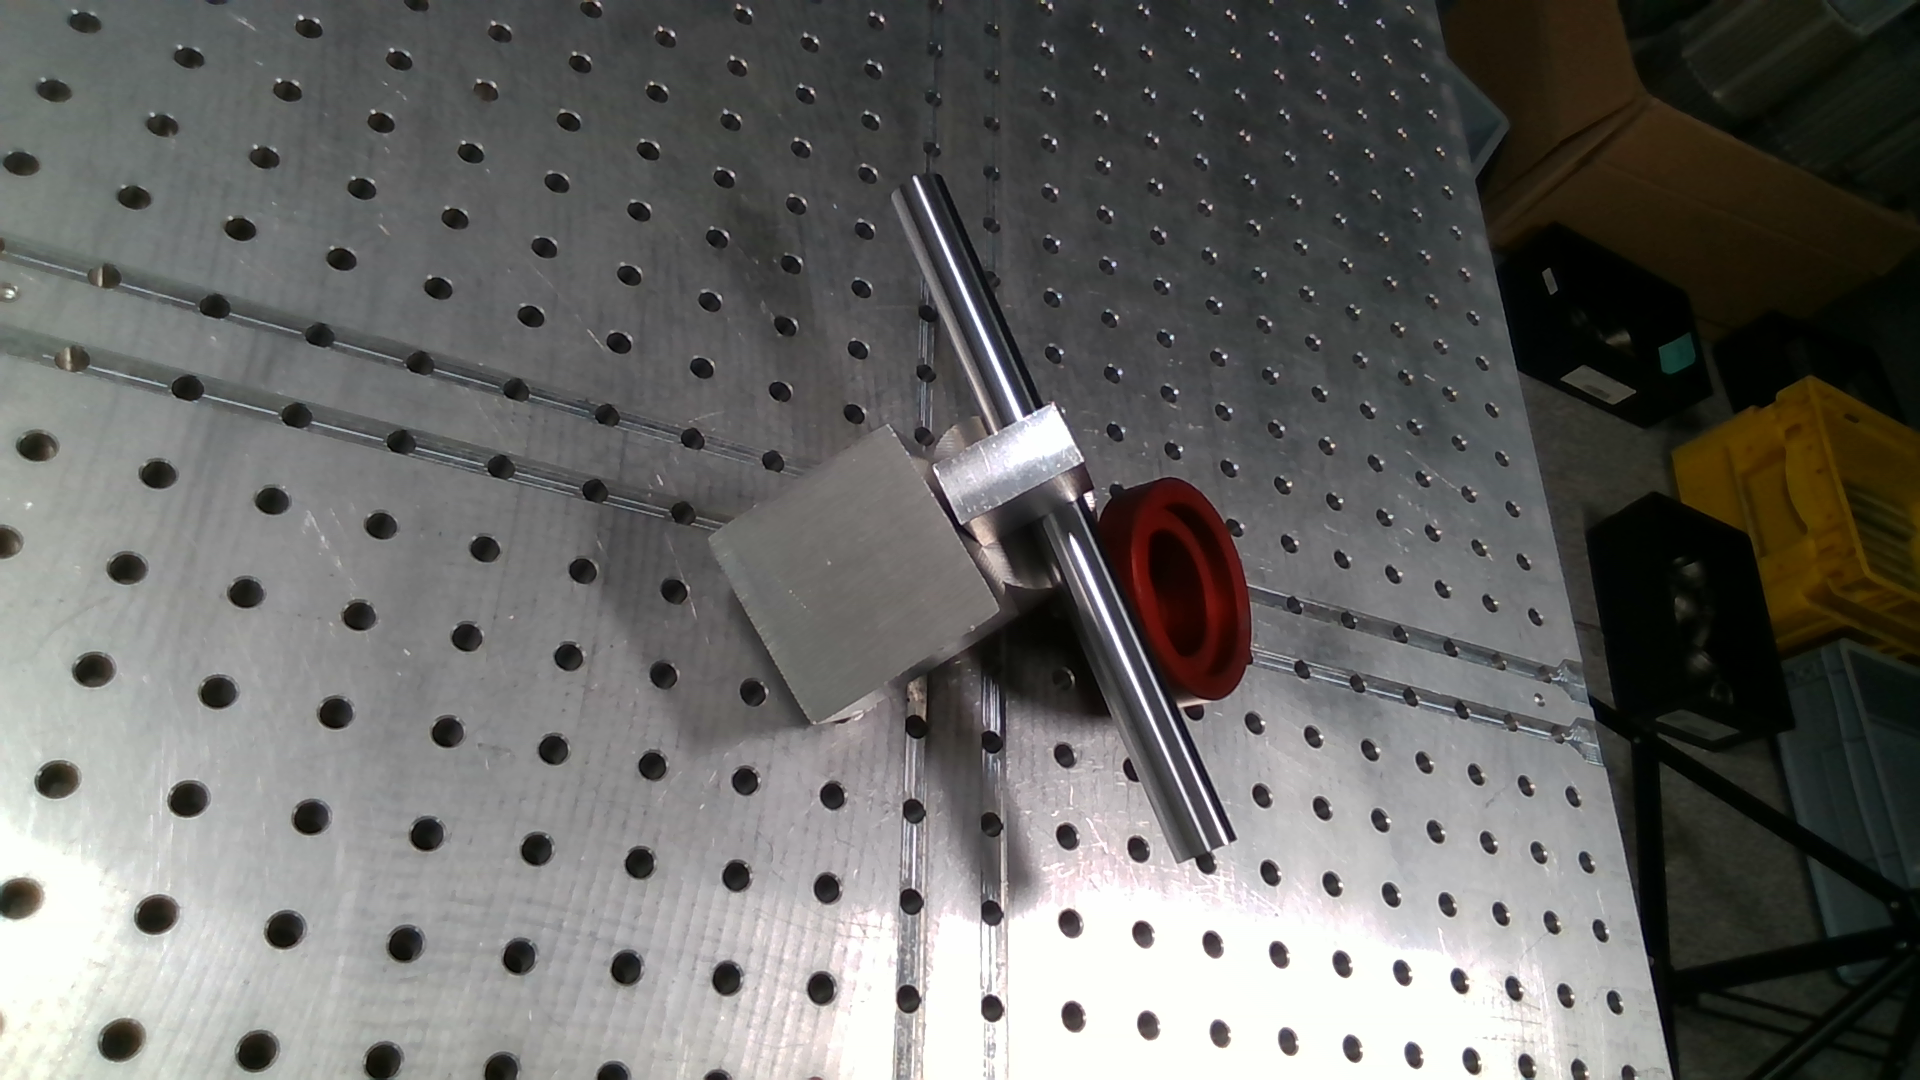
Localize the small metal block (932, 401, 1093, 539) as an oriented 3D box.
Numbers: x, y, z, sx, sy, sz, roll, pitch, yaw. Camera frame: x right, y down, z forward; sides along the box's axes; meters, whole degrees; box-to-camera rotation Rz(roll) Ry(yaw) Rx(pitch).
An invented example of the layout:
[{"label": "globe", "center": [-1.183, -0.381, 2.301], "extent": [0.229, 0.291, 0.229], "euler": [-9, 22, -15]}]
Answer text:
[{"label": "small metal block", "center": [0.022, -0.024, 0.520], "extent": [0.050, 0.050, 0.025], "euler": [-27, 78, 4]}]

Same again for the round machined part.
[{"label": "round machined part", "center": [0.085, 0.024, 0.602], "extent": [0.098, 0.042, 0.098], "euler": [22, 60, -47]}]

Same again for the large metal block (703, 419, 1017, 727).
[{"label": "large metal block", "center": [-0.035, 0.013, 0.514], "extent": [0.080, 0.050, 0.080], "euler": [-32, 82, 6]}]

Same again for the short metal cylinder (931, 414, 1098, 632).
[{"label": "short metal cylinder", "center": [0.011, -0.007, 0.583], "extent": [0.080, 0.050, 0.080], "euler": [14, 59, -25]}]

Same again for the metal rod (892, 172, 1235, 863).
[{"label": "metal rod", "center": [0.037, -0.017, 0.556], "extent": [0.025, 0.025, 0.299], "euler": [-12, 72, -35]}]
